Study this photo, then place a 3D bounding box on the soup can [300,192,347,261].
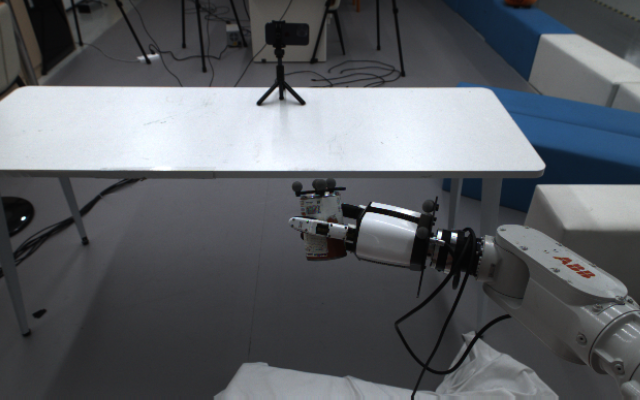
[{"bbox_3d":[0.007,0.042,0.771,0.067,0.101,0.067,-7,3,0],"label":"soup can"}]
